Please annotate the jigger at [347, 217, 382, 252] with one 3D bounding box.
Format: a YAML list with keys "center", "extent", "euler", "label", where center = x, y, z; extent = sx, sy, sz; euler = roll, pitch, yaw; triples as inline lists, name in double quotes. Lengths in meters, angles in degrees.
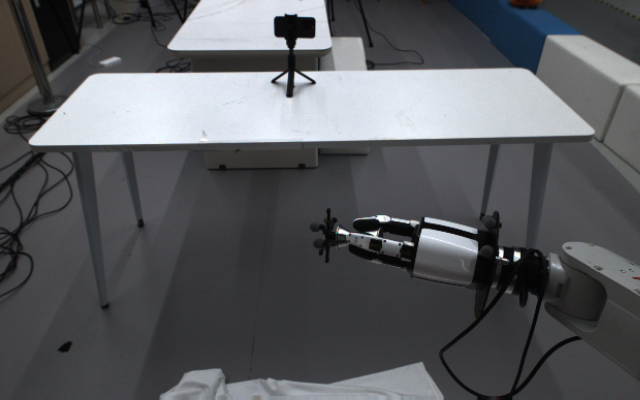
- center: [0.069, 0.055, 0.762]
  extent: [0.071, 0.043, 0.043]
  euler: [3, 34, 17]
  label: "jigger"
